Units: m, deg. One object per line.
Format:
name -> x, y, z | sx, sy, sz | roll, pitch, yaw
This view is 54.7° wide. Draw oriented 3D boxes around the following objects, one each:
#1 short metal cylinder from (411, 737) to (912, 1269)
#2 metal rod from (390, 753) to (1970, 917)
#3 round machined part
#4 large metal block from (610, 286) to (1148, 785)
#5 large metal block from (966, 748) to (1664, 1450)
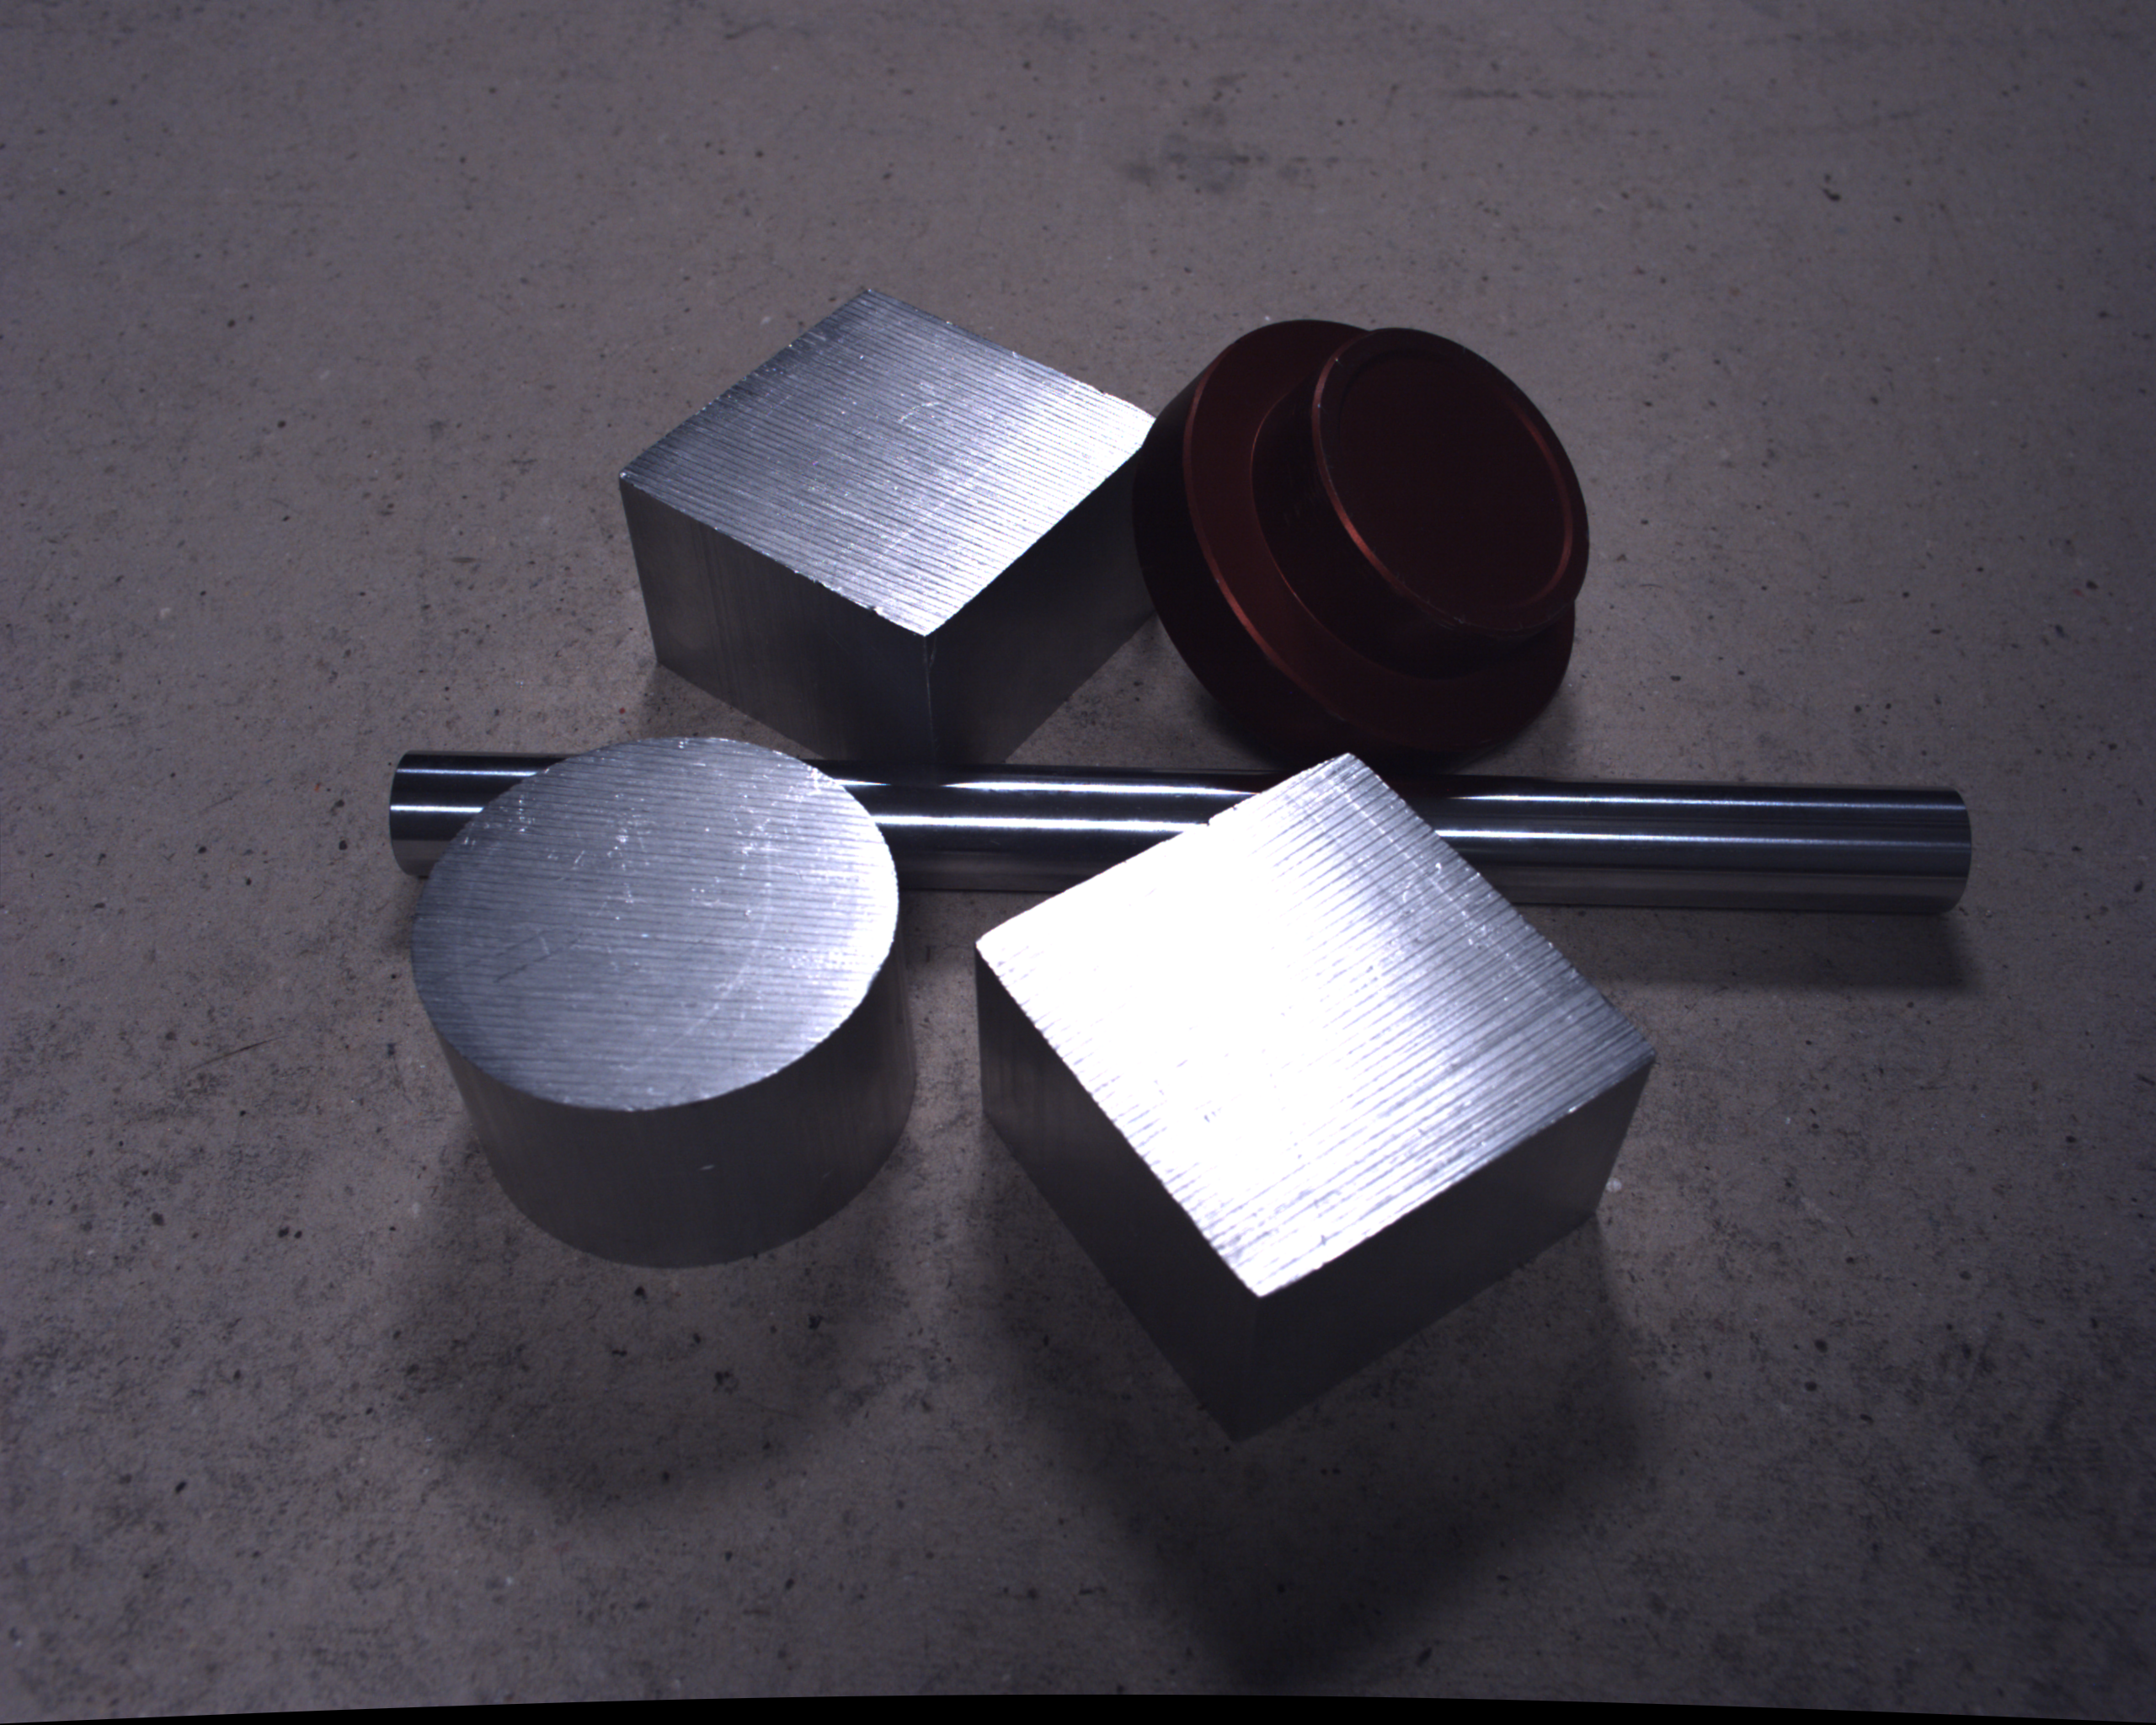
short metal cylinder -> -0.070, 0.024, 0.367 | 0.081, 0.050, 0.080 | 0, 50, 0
metal rod -> 0.019, -0.005, 0.411 | 0.302, 0.025, 0.025 | 1, 50, 0
round machined part -> 0.063, -0.068, 0.421 | 0.099, 0.042, 0.098 | 12, 63, -25
large metal block -> -0.037, -0.068, 0.443 | 0.080, 0.050, 0.080 | 30, 56, 22
large metal block -> 0.037, 0.038, 0.357 | 0.081, 0.050, 0.080 | -27, 55, -21
